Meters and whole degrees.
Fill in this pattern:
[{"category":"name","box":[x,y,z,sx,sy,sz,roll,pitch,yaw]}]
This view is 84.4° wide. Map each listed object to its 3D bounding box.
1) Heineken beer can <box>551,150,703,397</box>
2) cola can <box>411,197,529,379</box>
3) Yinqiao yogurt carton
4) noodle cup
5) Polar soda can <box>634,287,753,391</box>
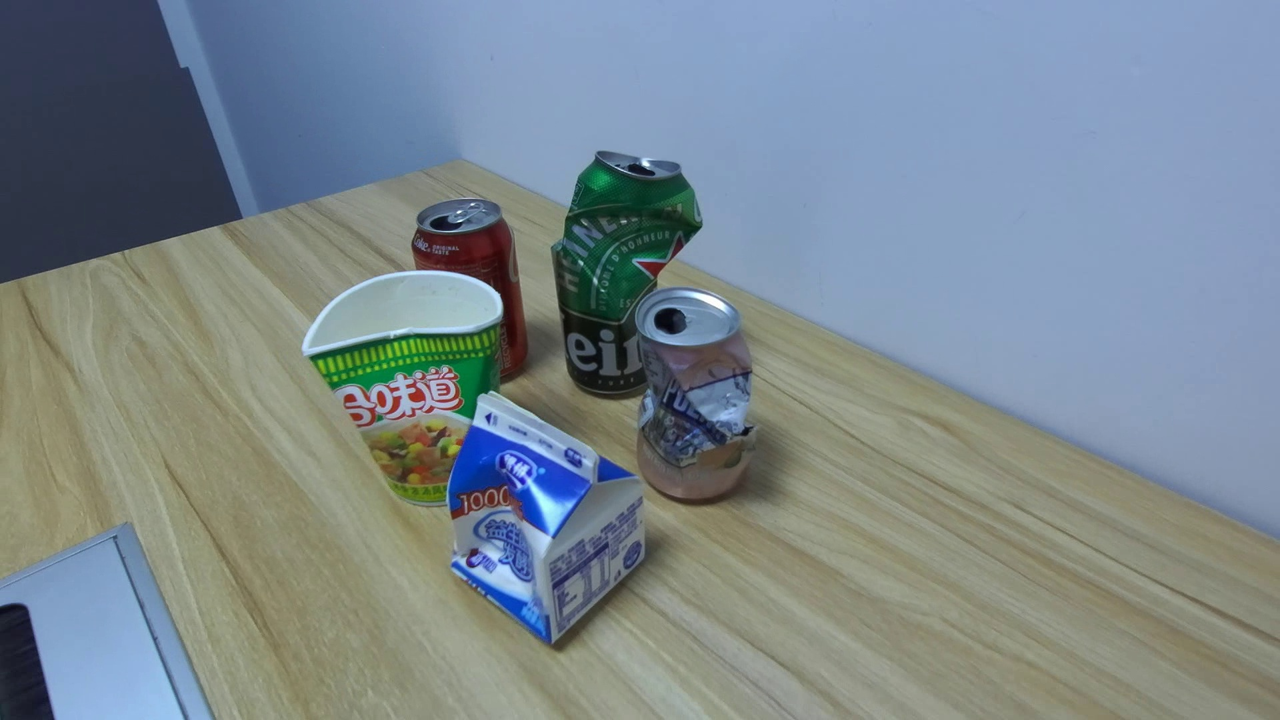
[{"category":"Heineken beer can","box":[-0.013,-0.052,0.457,0.079,0.159,0.067,-21,41,-37]},{"category":"cola can","box":[-0.116,-0.047,0.488,0.068,0.120,0.068,-2,33,1]},{"category":"Yinqiao yogurt carton","box":[-0.046,0.067,0.342,0.077,0.094,0.071,24,35,30]},{"category":"noodle cup","box":[-0.118,0.018,0.401,0.093,0.109,0.087,3,35,7]},{"category":"Polar soda can","box":[0.029,0.021,0.390,0.074,0.114,0.070,6,43,17]}]
